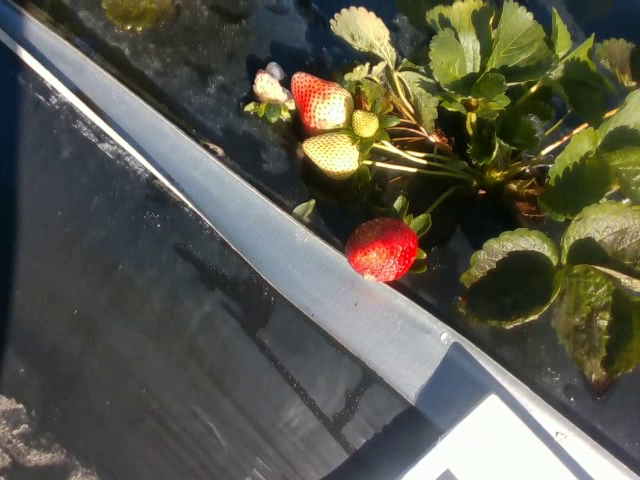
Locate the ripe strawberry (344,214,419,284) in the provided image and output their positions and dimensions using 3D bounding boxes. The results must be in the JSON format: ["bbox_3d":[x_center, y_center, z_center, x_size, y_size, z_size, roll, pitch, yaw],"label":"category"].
[{"bbox_3d":[0.024,0.004,0.282,0.036,0.038,0.045,44,18,20],"label":"ripe strawberry"}]
